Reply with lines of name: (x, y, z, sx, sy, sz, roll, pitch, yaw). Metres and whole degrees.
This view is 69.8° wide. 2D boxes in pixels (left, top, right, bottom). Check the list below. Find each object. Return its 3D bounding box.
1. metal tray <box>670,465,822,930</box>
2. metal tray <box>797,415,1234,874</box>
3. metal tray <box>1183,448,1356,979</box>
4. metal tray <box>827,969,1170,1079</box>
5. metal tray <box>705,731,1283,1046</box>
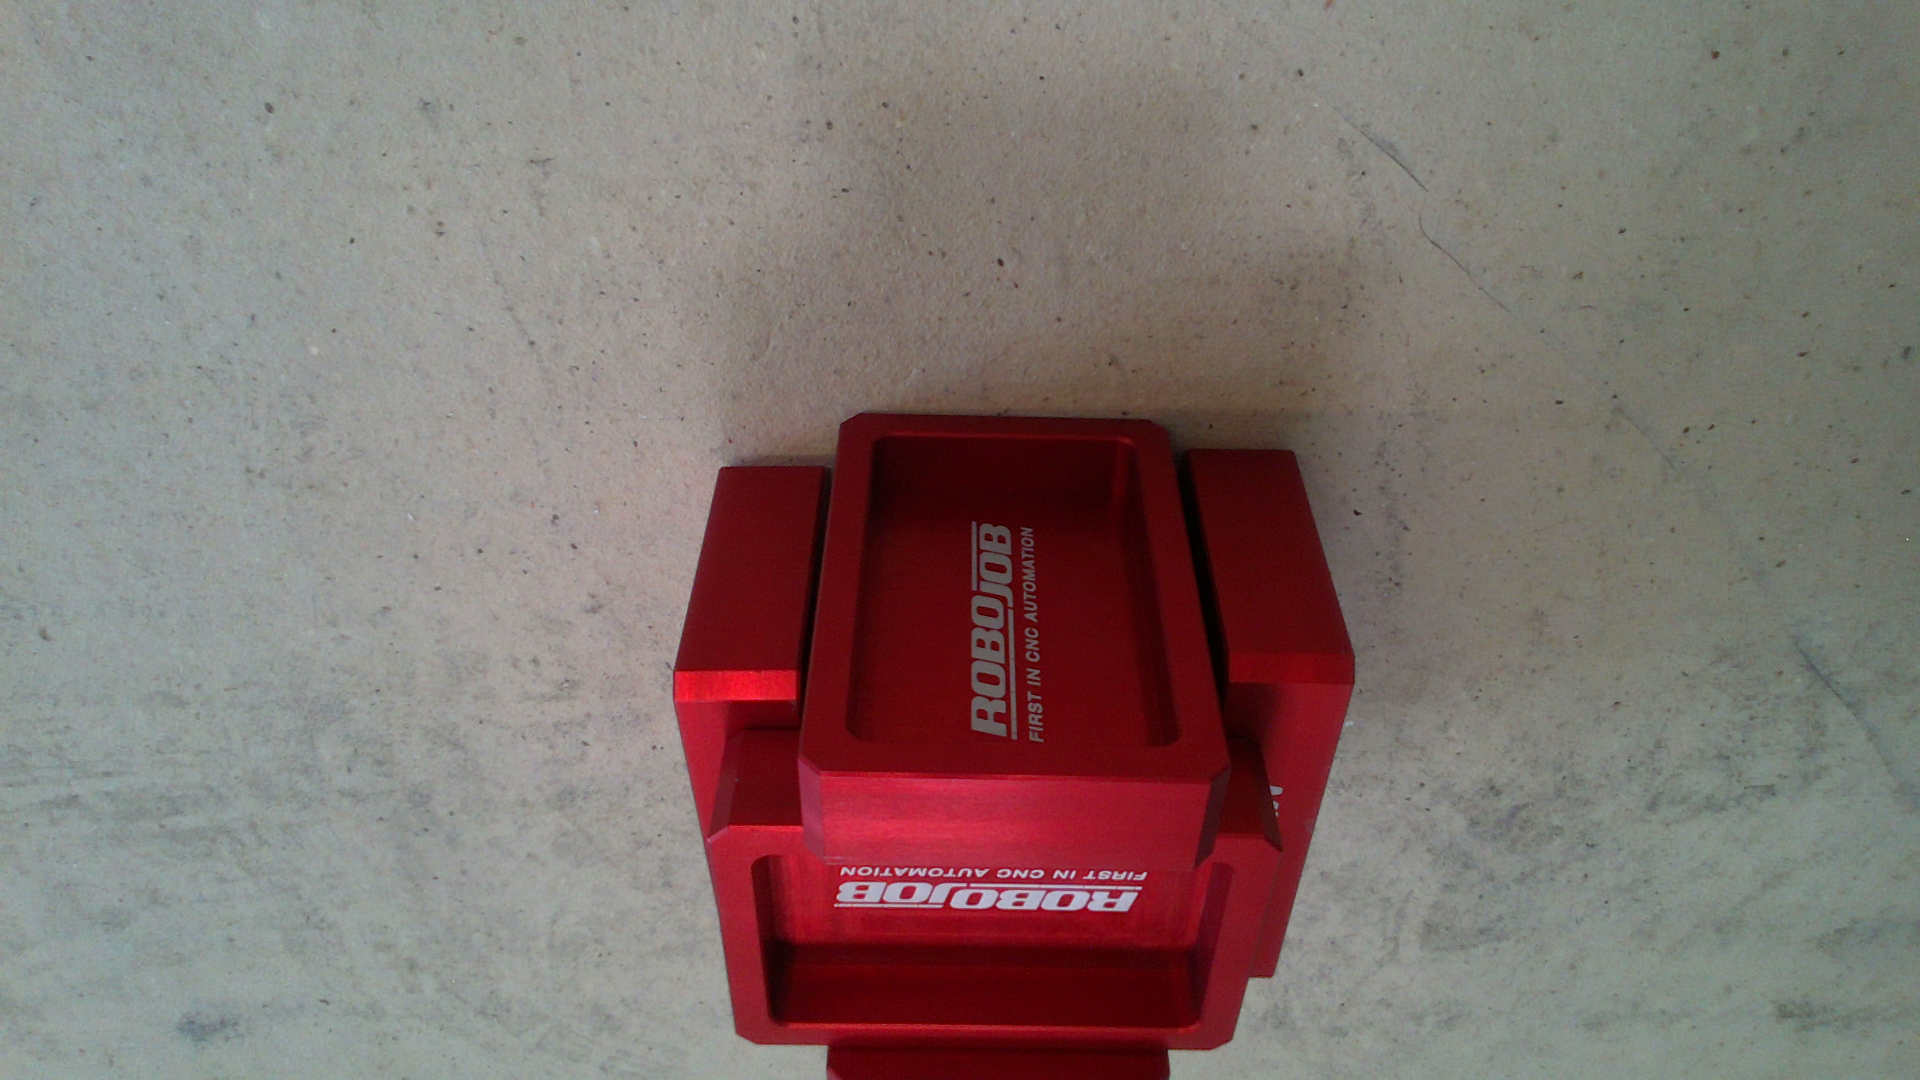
metal tray: (-0.052, 0.055, 0.394, 0.030, 0.090, 0.130, -1, 130, 0)
metal tray: (0.011, 0.019, 0.338, 0.090, 0.130, 0.030, 1, 130, -1)
metal tray: (0.076, 0.051, 0.391, 0.030, 0.090, 0.130, 1, 129, 0)
metal tray: (0.010, 0.110, 0.415, 0.090, 0.130, 0.030, 1, 131, -1)
metal tray: (0.007, 0.090, 0.346, 0.130, 0.030, 0.090, 1, 131, -1)
